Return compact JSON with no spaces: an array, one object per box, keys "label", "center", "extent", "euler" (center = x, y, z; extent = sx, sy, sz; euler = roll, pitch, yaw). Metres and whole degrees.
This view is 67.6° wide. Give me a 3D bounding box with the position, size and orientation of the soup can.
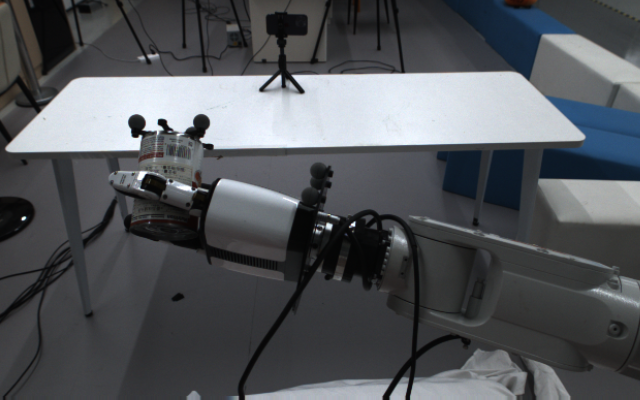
[{"label":"soup can","center":[-0.158,-0.013,0.509],"extent":[0.067,0.067,0.101],"euler":[1,72,-2]}]
